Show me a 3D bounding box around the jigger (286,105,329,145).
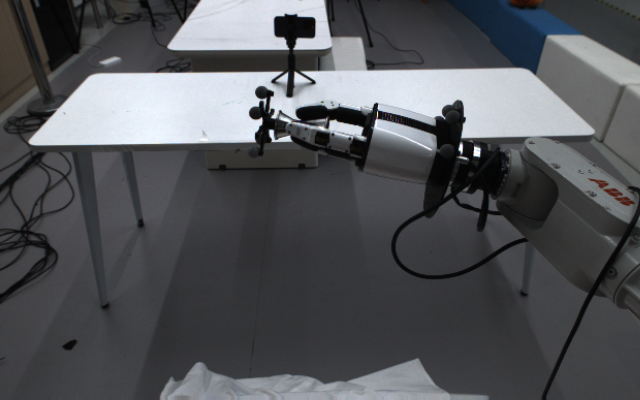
[{"bbox_3d":[-0.018,-0.098,0.653,0.071,0.043,0.043,9,35,4],"label":"jigger"}]
